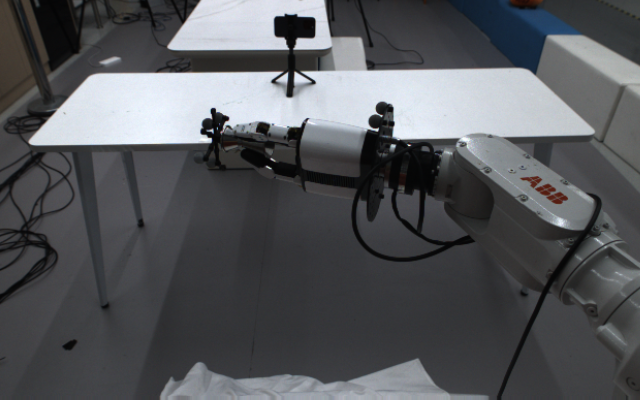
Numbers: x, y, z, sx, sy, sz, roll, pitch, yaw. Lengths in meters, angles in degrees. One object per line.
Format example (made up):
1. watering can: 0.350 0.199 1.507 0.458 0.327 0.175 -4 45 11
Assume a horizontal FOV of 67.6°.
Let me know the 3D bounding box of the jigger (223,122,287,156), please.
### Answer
1. jigger: -0.098 -0.089 0.700 0.071 0.043 0.043 7 35 13
